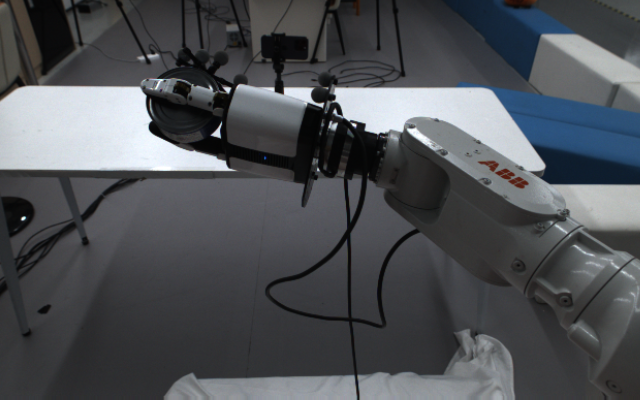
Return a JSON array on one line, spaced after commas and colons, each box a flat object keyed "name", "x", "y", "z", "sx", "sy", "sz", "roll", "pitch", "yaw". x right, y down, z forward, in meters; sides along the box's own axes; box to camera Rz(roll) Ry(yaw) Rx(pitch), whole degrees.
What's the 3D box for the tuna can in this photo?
[{"name": "tuna can", "x": -0.158, "y": -0.113, "z": 0.576, "sx": 0.085, "sy": 0.034, "sz": 0.085, "roll": 0, "pitch": 72, "yaw": 0}]
